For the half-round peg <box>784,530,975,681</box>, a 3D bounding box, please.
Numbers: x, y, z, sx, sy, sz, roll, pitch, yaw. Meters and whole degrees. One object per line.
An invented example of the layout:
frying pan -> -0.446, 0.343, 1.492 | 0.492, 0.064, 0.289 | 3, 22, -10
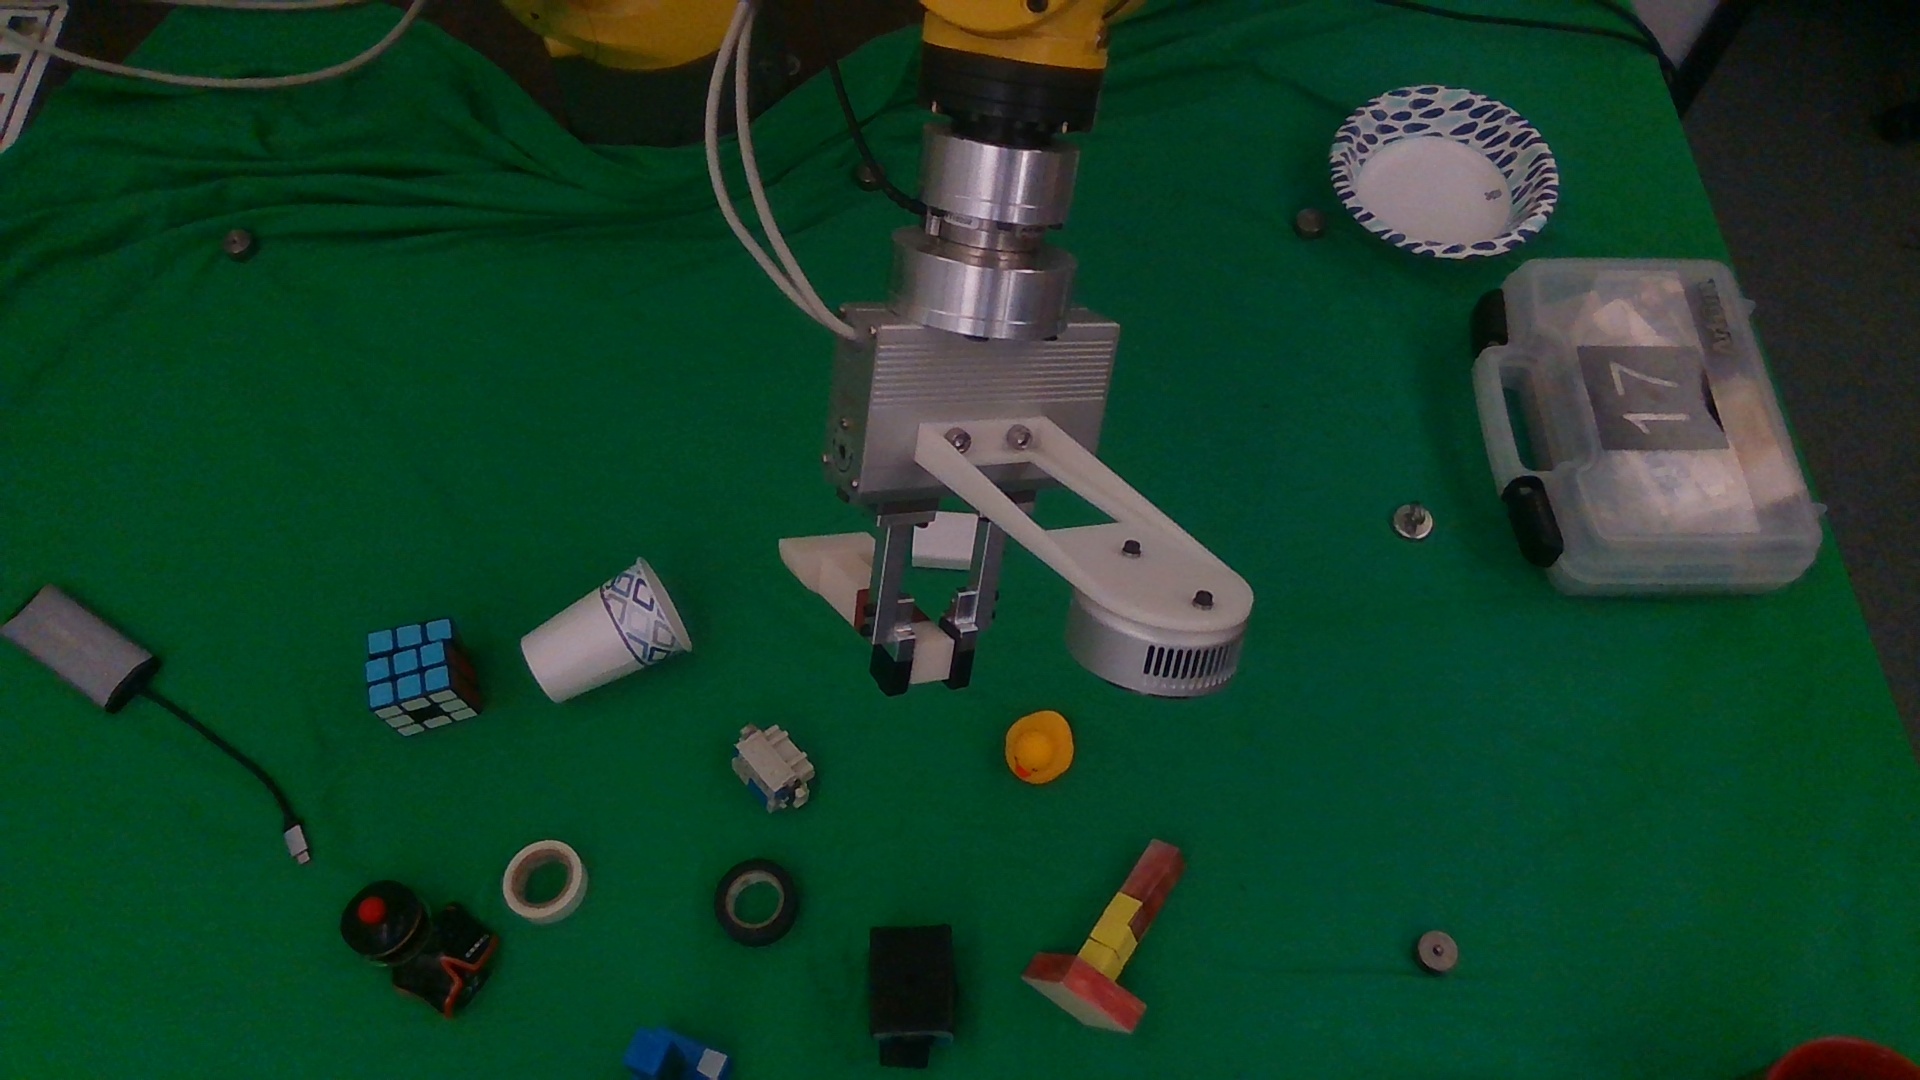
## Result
half-round peg -> -0.034, 0.030, 0.653 | 0.054, 0.031, 0.122 | -9, 25, -30

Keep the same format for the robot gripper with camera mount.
robot gripper with camera mount -> 0.038, 0.022, 0.532 | 0.118, 0.158, 0.194 | -5, 25, -30
